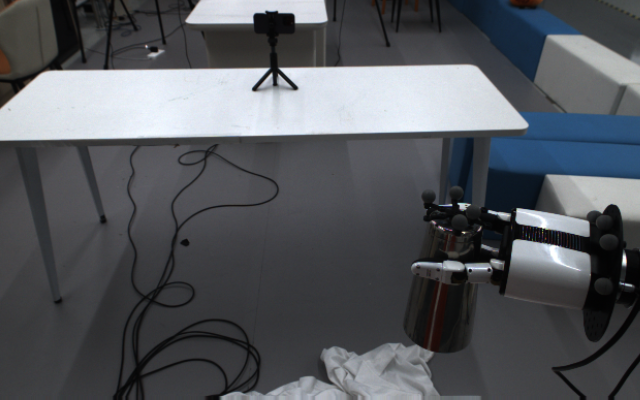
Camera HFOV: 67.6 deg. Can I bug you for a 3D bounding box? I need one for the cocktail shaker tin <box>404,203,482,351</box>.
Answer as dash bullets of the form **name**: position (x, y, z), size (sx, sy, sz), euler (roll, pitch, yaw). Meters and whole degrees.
- **cocktail shaker tin**: position (0.166, 0.097, 0.629), size (0.093, 0.170, 0.093), euler (1, 27, -1)
